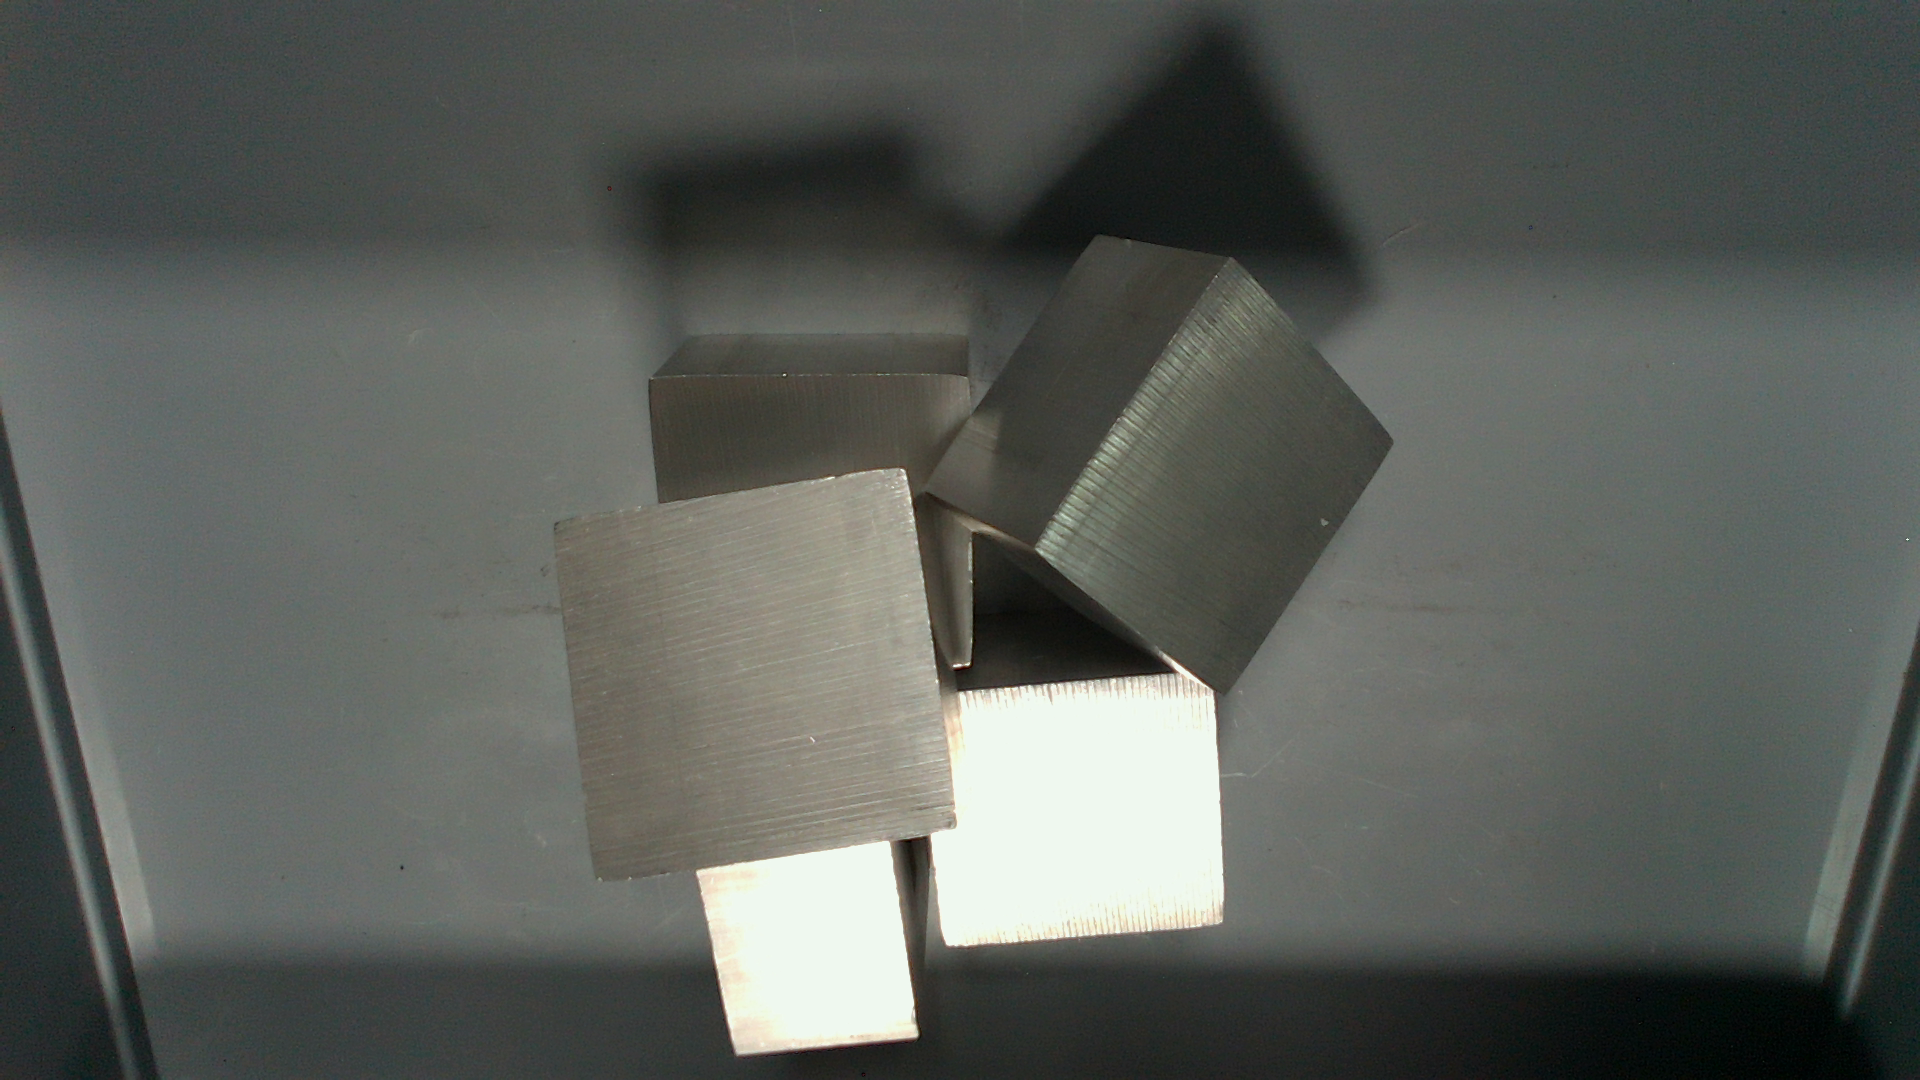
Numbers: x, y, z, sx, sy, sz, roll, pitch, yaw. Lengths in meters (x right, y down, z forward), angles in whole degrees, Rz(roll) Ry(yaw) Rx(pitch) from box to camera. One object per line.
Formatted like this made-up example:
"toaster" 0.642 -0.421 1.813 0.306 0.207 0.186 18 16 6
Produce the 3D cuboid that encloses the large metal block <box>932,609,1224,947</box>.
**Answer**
"large metal block" 0.032 0.067 0.402 0.080 0.050 0.080 -5 110 2

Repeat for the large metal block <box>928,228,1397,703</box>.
"large metal block" 0.051 -0.019 0.346 0.080 0.050 0.080 37 85 -36

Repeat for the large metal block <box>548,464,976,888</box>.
"large metal block" -0.043 0.031 0.321 0.080 0.050 0.080 -9 85 3

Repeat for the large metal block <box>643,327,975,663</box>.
"large metal block" -0.037 -0.013 0.375 0.080 0.050 0.080 -1 110 0

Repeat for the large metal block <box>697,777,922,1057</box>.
"large metal block" -0.040 0.086 0.395 0.050 0.080 0.080 -6 110 2
